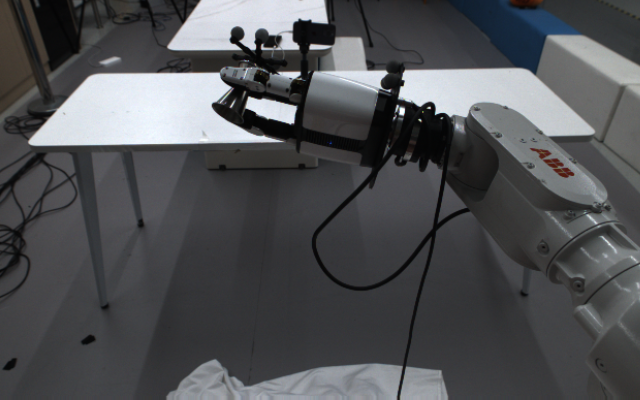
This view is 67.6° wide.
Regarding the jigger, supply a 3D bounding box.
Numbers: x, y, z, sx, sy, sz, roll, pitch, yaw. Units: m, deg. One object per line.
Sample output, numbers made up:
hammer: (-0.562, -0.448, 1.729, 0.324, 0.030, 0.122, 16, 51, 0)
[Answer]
jigger: (-0.101, -0.137, 0.605, 0.043, 0.043, 0.071, 19, 72, 23)
